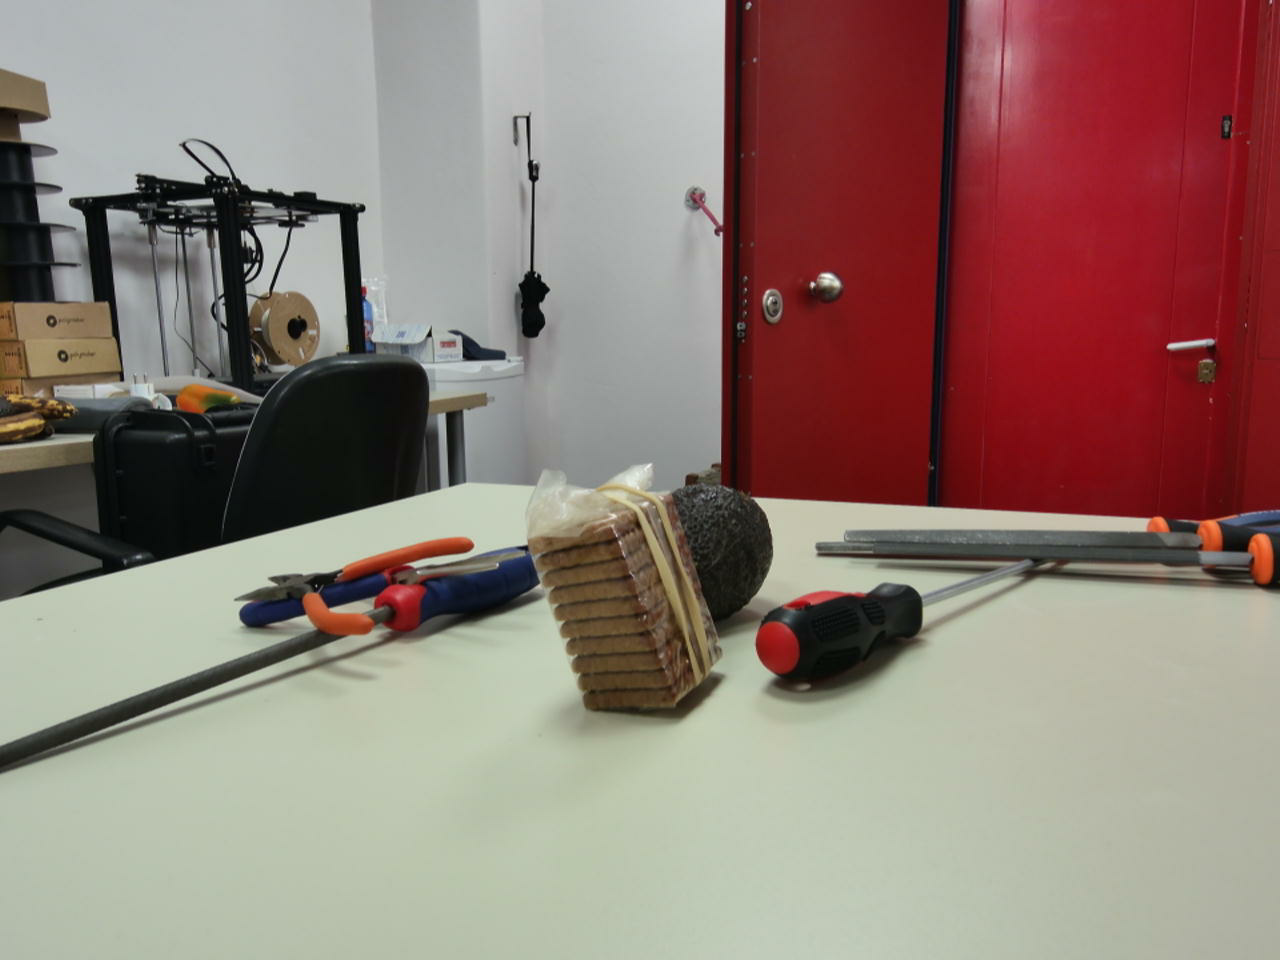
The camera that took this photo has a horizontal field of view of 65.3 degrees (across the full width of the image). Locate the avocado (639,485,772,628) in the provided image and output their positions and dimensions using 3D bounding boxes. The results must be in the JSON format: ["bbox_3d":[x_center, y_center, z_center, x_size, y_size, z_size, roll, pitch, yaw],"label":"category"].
[{"bbox_3d":[0.031,0.037,0.525,0.090,0.069,0.070,-4,8,-41],"label":"avocado"}]
